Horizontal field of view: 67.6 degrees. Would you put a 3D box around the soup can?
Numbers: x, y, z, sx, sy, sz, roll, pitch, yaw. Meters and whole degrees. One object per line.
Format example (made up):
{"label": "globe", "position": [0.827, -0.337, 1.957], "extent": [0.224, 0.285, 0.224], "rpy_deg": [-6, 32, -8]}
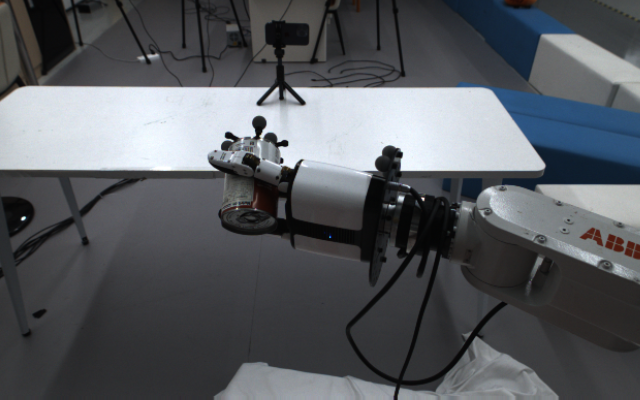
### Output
{"label": "soup can", "position": [-0.081, -0.018, 0.587], "extent": [0.067, 0.067, 0.101], "rpy_deg": [0, 61, -3]}
